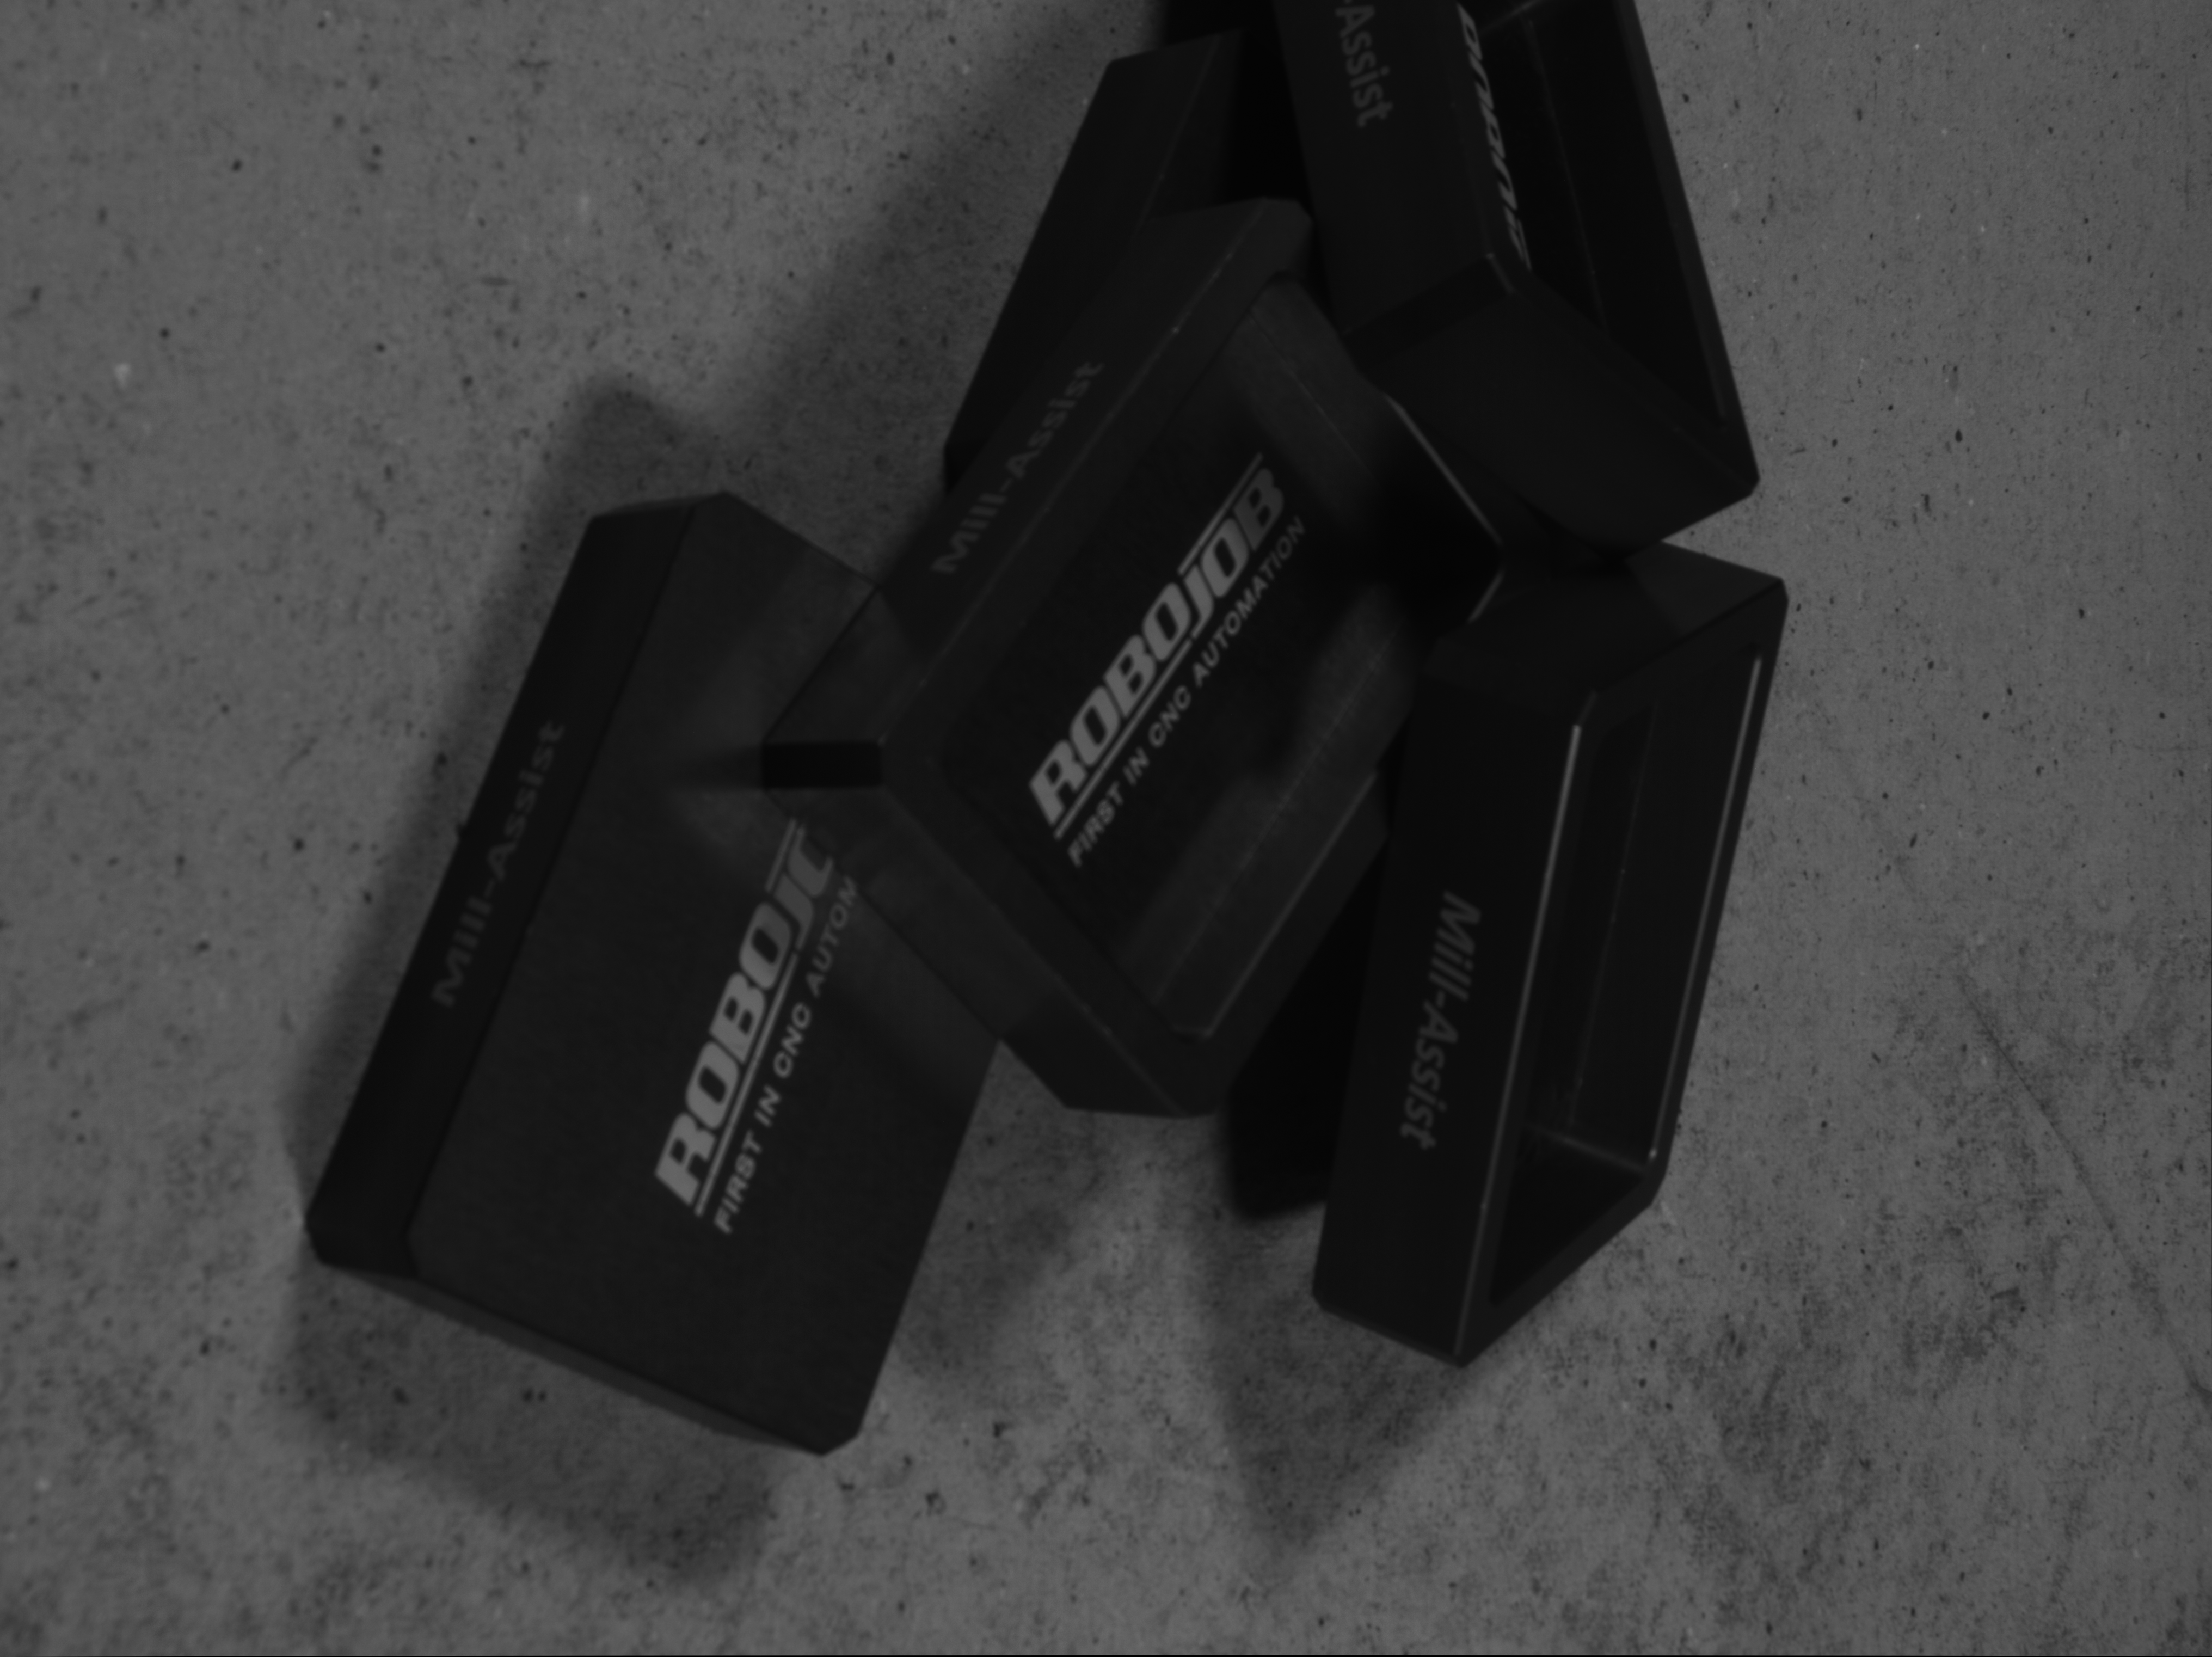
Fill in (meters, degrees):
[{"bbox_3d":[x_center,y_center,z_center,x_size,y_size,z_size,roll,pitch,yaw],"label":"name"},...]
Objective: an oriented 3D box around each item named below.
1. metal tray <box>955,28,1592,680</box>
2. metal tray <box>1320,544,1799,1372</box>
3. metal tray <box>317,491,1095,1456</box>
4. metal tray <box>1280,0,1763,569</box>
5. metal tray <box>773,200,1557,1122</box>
[{"bbox_3d":[0.042,-0.072,0.669,0.130,0.030,0.090,34,69,-35],"label":"metal tray"},{"bbox_3d":[0.082,0.021,0.658,0.090,0.030,0.130,-28,132,-53],"label":"metal tray"},{"bbox_3d":[-0.059,0.023,0.584,0.090,0.030,0.130,31,71,-36],"label":"metal tray"},{"bbox_3d":[0.070,-0.121,0.648,0.090,0.030,0.130,29,44,-46],"label":"metal tray"},{"bbox_3d":[0.014,-0.028,0.607,0.090,0.030,0.130,49,61,-29],"label":"metal tray"}]
